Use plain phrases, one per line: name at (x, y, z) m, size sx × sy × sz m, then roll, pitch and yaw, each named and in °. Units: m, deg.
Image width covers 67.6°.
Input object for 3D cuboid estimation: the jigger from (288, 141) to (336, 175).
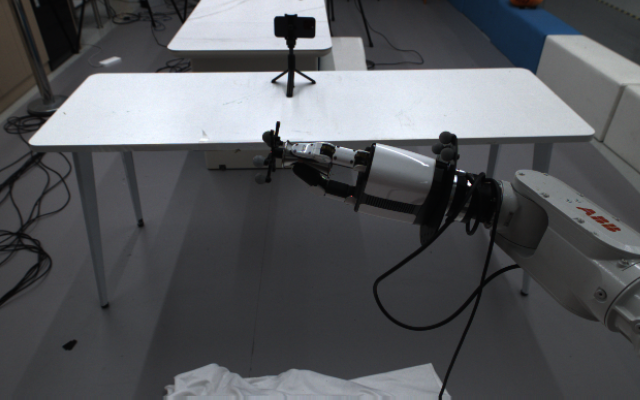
jigger at (-0.010, -0.062, 0.678) m, size 0.071 × 0.043 × 0.043 m, roll 11°, pitch 35°, yaw 3°
